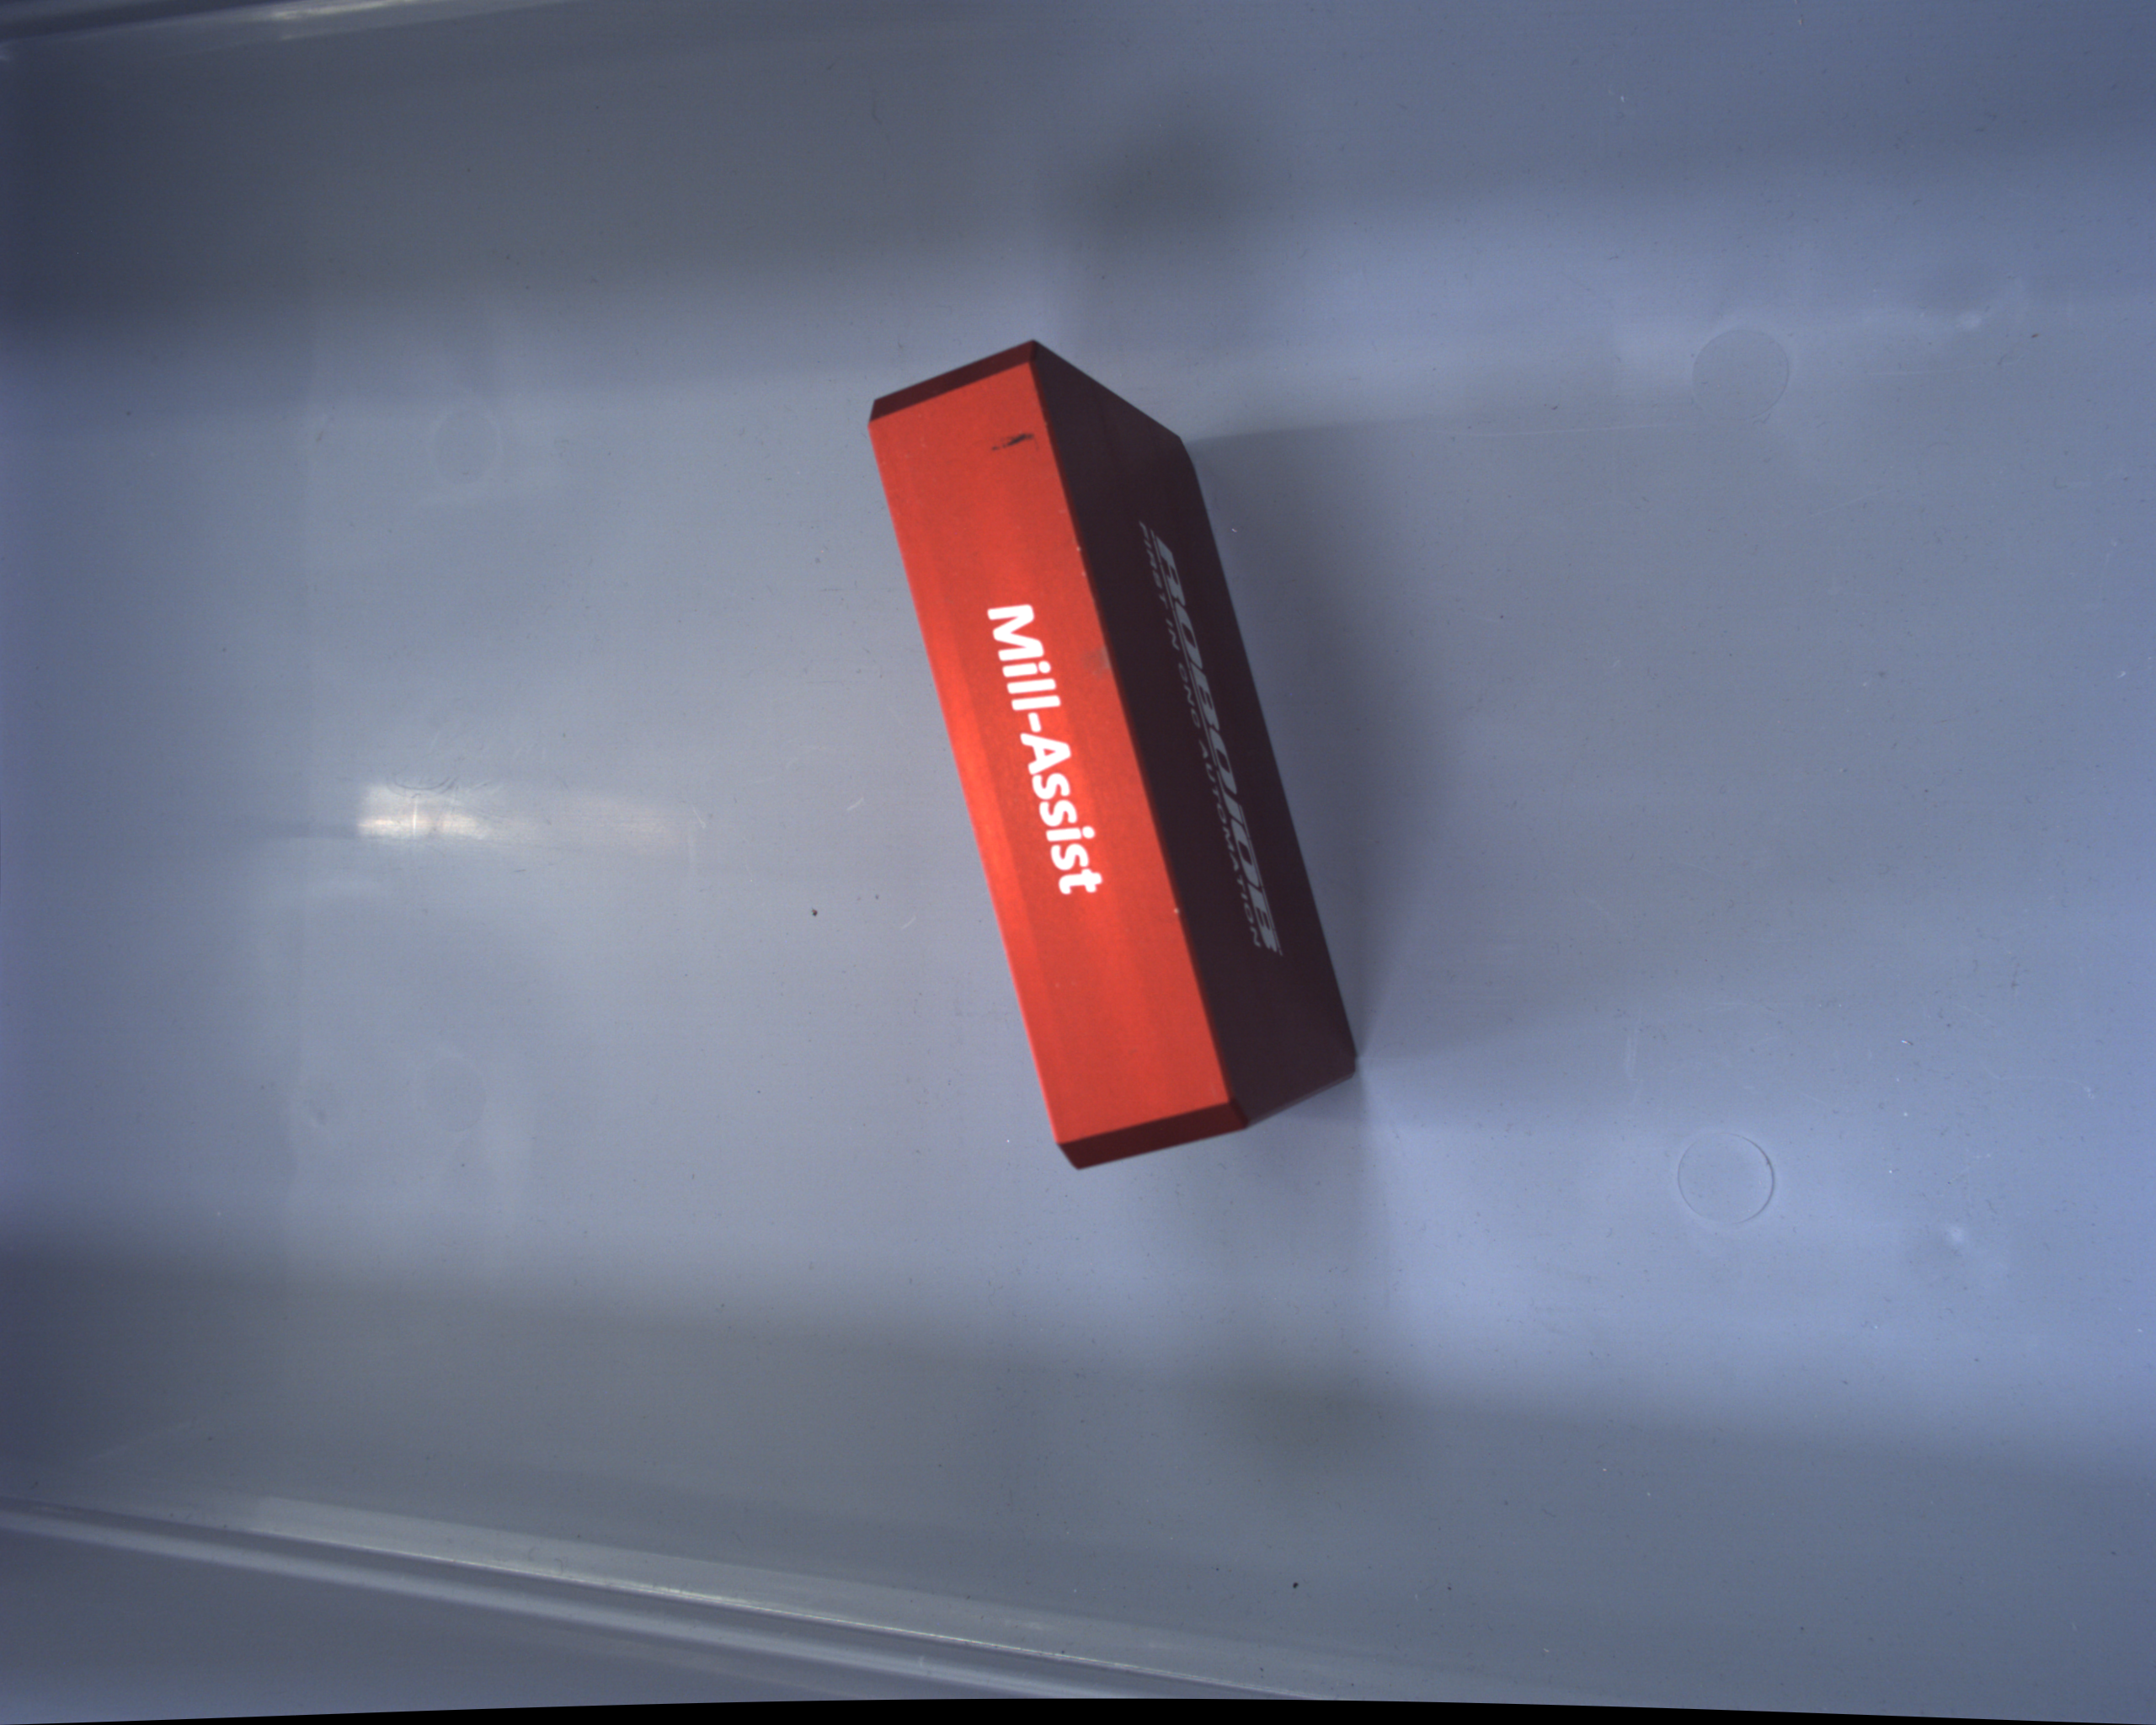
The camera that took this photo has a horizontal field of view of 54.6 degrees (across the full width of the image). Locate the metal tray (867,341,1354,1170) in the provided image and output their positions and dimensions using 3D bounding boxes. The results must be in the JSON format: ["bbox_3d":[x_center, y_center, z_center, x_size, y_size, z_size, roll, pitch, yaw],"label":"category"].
[{"bbox_3d":[0.009,-0.017,0.370,0.030,0.090,0.129,-17,85,18],"label":"metal tray"}]
